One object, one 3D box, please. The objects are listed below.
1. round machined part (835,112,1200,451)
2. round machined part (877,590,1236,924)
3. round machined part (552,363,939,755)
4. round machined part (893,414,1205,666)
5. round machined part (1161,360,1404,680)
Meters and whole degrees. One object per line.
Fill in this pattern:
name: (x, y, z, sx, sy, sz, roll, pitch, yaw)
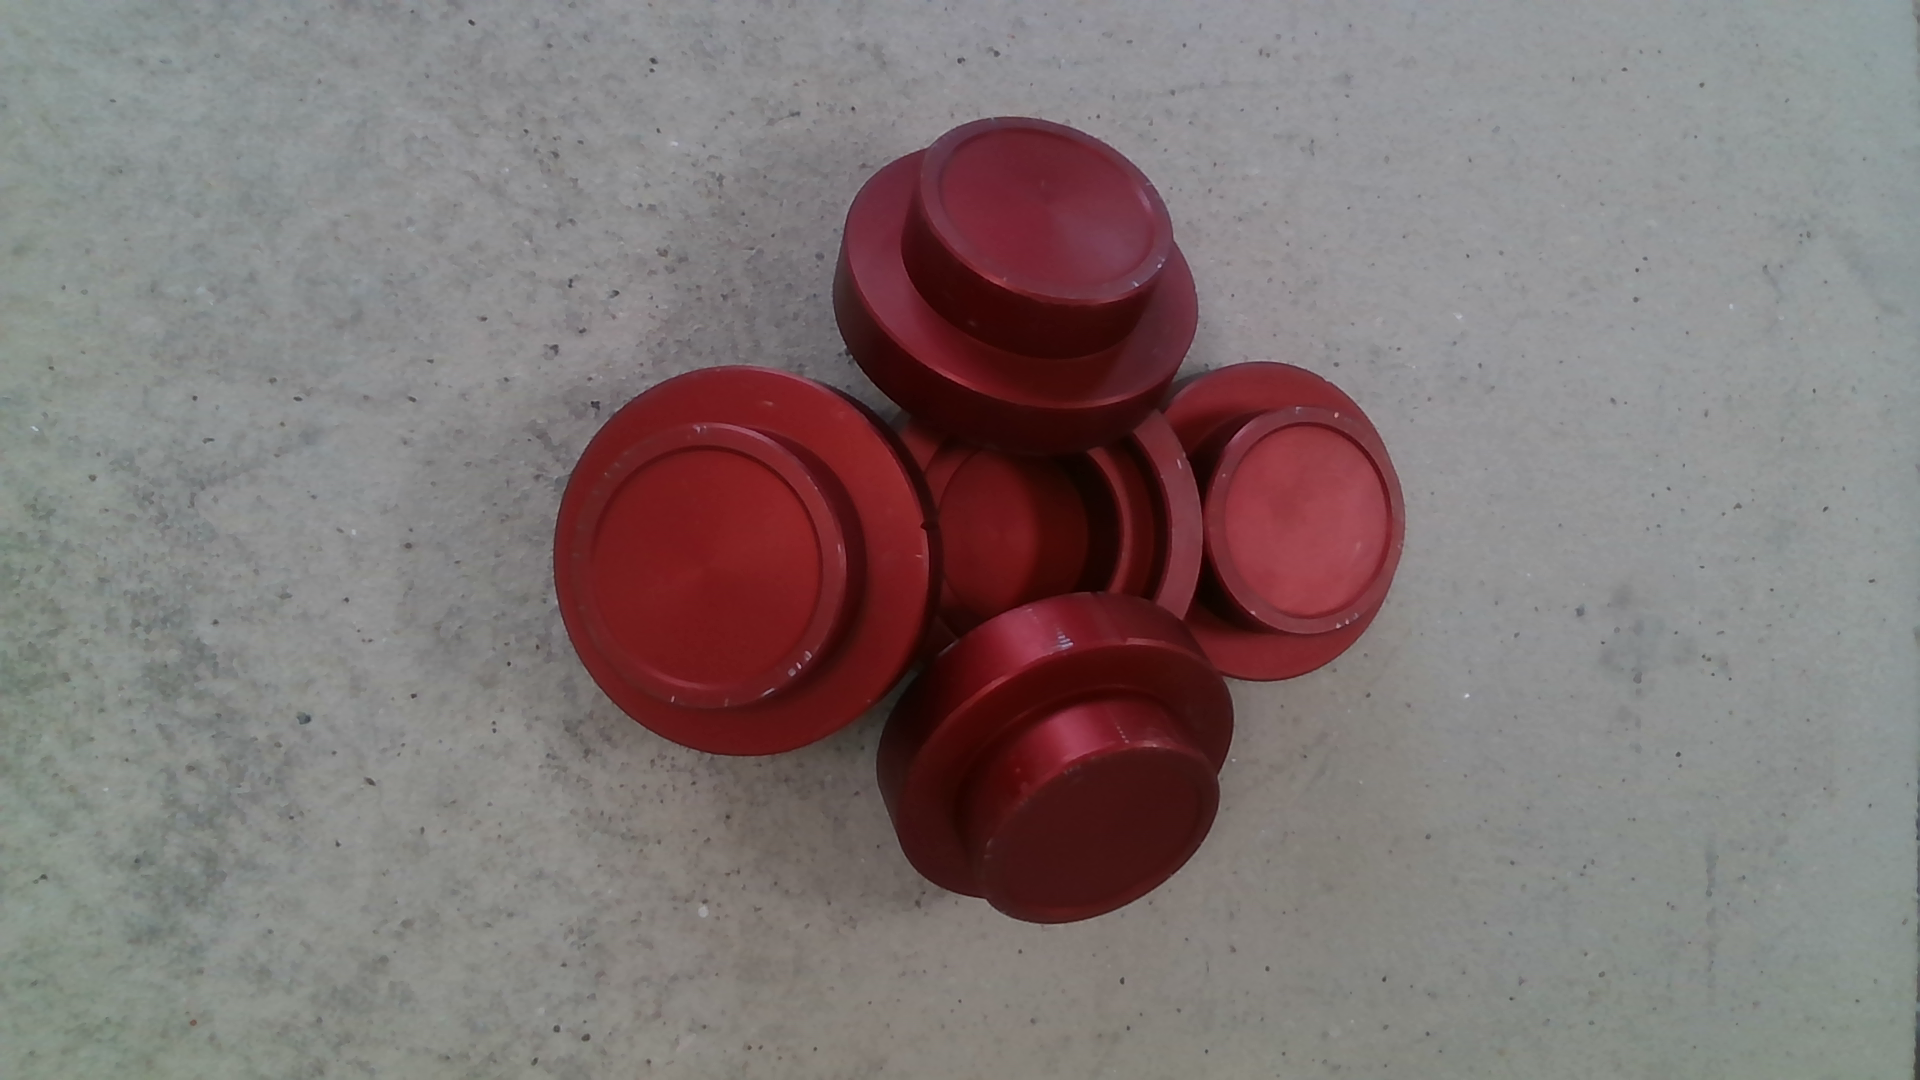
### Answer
round machined part: (0.018, -0.075, 0.366, 0.098, 0.042, 0.098, 7, 55, -11)
round machined part: (0.031, 0.064, 0.369, 0.098, 0.042, 0.098, -12, 130, -15)
round machined part: (-0.056, 0.005, 0.342, 0.098, 0.042, 0.098, 0, 92, 10)
round machined part: (0.016, -0.001, 0.391, 0.098, 0.042, 0.098, 1, 88, -21)
round machined part: (0.095, -0.006, 0.420, 0.098, 0.042, 0.098, 0, 90, -22)
